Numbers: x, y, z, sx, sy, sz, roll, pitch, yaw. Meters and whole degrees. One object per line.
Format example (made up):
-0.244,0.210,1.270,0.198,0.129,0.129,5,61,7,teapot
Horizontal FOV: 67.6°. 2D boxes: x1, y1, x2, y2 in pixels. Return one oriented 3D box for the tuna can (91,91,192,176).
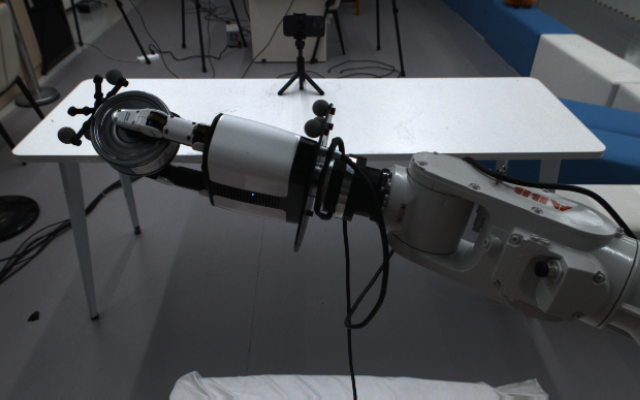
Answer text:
-0.190,-0.066,0.509,0.085,0.034,0.085,1,78,-6,tuna can
